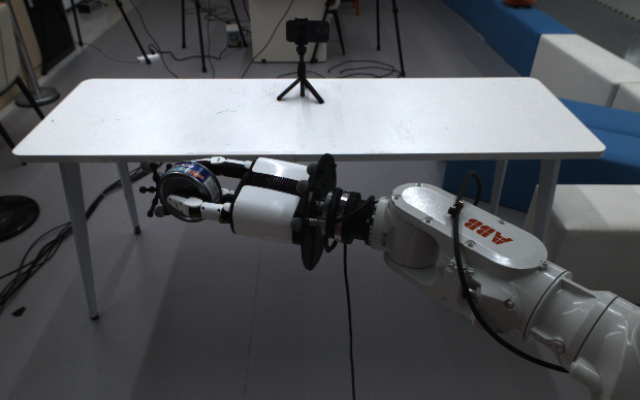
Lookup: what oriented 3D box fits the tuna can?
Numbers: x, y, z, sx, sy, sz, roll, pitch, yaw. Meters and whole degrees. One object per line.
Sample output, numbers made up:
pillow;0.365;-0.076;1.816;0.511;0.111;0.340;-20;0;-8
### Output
tuna can;-0.183;-0.008;0.686;0.085;0.085;0.034;9;35;10
